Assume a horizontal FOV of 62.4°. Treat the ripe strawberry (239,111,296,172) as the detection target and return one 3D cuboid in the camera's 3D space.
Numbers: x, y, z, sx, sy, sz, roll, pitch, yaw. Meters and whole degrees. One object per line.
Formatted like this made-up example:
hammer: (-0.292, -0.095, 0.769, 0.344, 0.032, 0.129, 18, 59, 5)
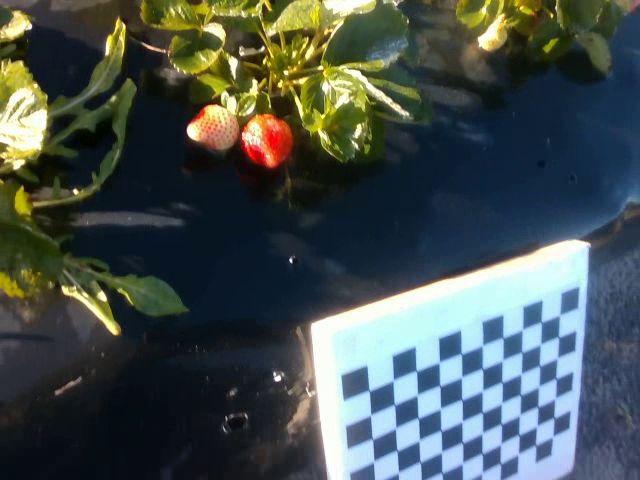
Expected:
ripe strawberry: (-0.035, -0.066, 0.360, 0.040, 0.038, 0.056, -21, 28, 9)
